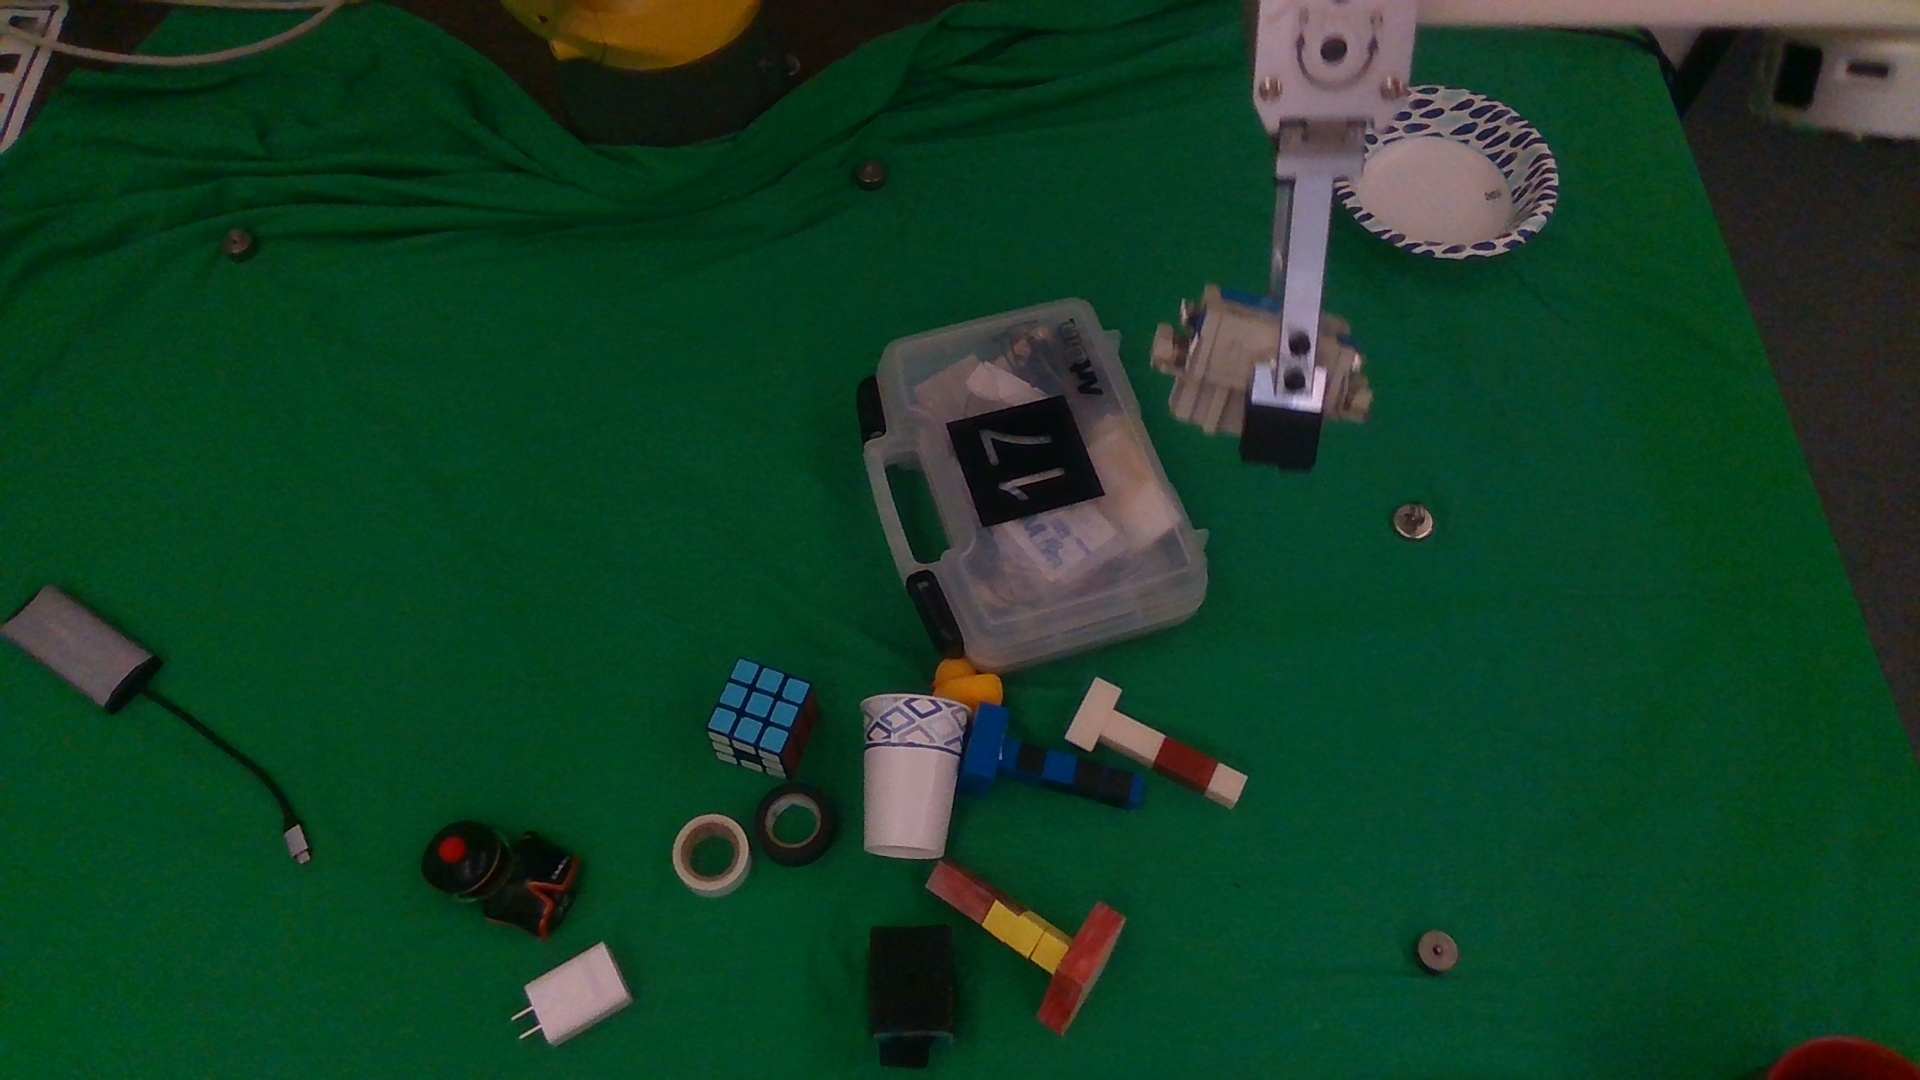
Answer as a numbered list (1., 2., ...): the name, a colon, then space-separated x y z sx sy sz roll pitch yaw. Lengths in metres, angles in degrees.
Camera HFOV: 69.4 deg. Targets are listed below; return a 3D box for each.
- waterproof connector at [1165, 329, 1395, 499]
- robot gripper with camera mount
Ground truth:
1. waterproof connector: 0.091 -0.035 0.399 0.065 0.037 0.035 13 27 1
2. robot gripper with camera mount: 0.170 -0.082 0.364 0.193 0.158 0.119 5 31 6
